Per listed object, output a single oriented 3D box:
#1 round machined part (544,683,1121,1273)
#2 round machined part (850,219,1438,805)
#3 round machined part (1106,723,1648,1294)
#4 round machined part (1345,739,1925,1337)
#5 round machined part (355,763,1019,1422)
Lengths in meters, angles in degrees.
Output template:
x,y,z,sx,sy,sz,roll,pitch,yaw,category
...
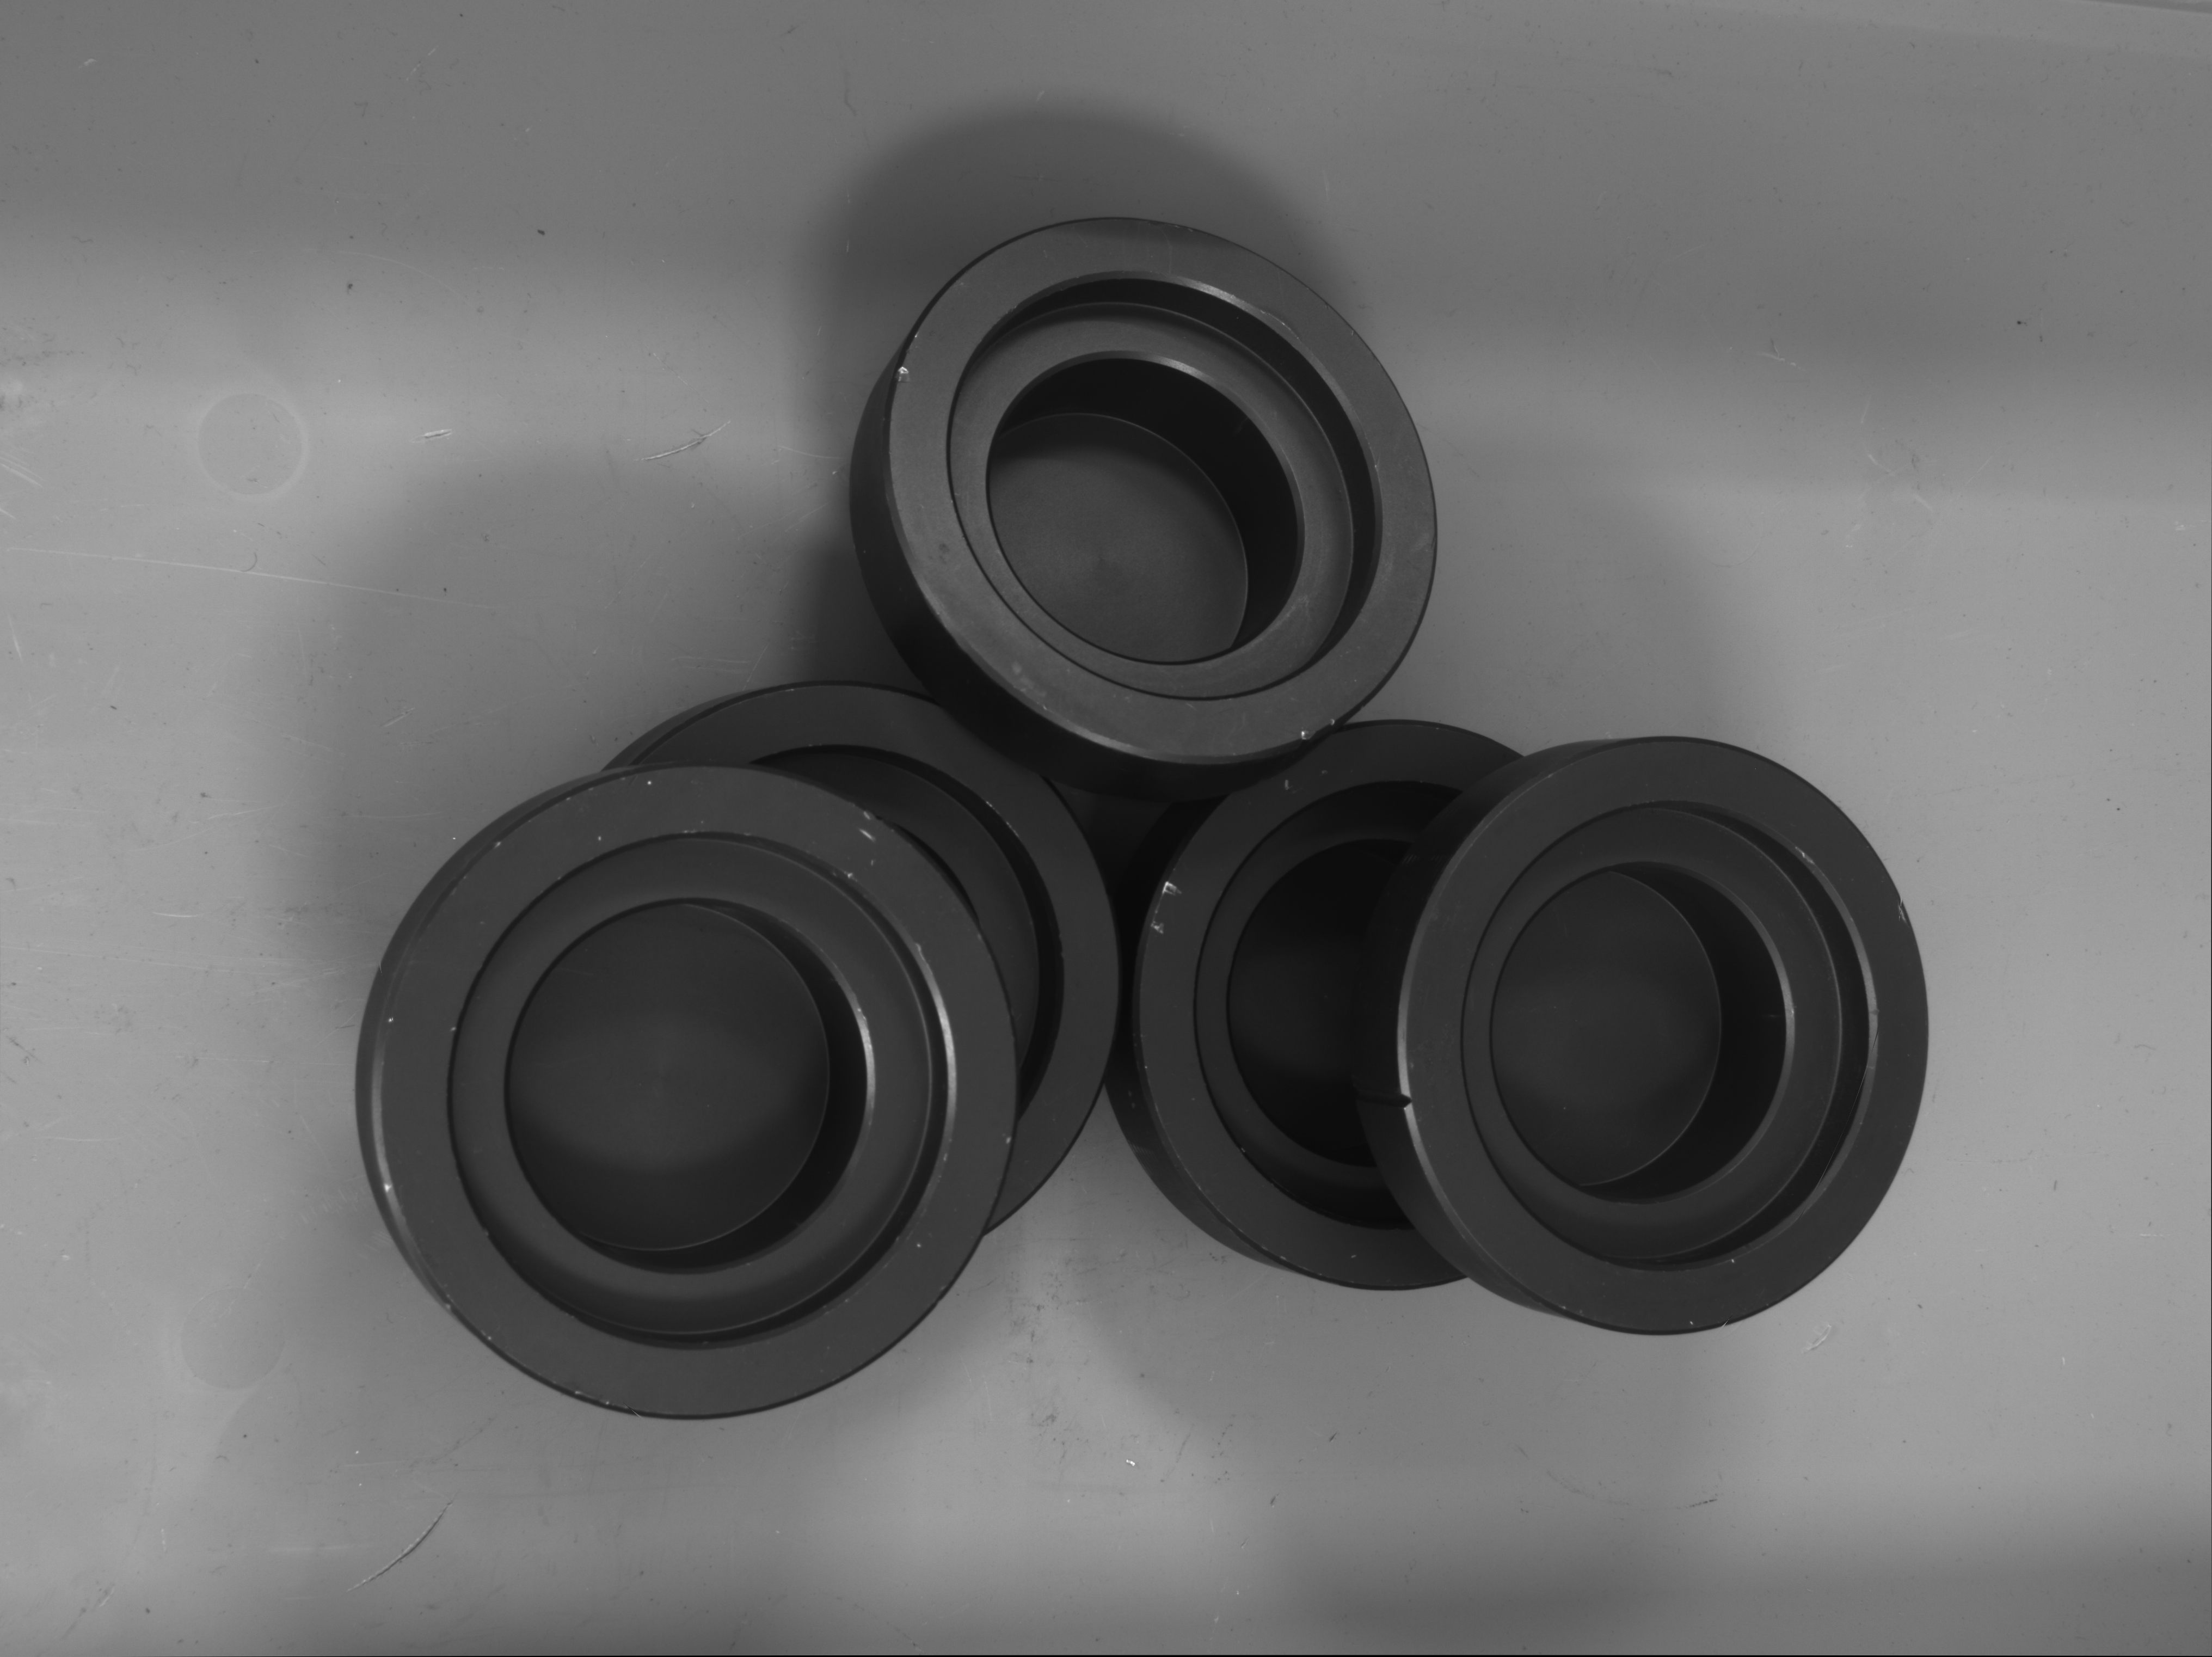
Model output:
x,y,z,sx,sy,sz,roll,pitch,yaw,category
-0.050,0.025,0.615,0.098,0.042,0.098,0,90,-20,round machined part
0.003,-0.050,0.623,0.098,0.042,0.098,7,70,-19,round machined part
0.044,0.031,0.649,0.098,0.042,0.098,0,90,-20,round machined part
0.085,0.034,0.620,0.098,0.042,0.098,0,90,-20,round machined part
-0.066,0.039,0.564,0.098,0.042,0.098,0,90,-20,round machined part
